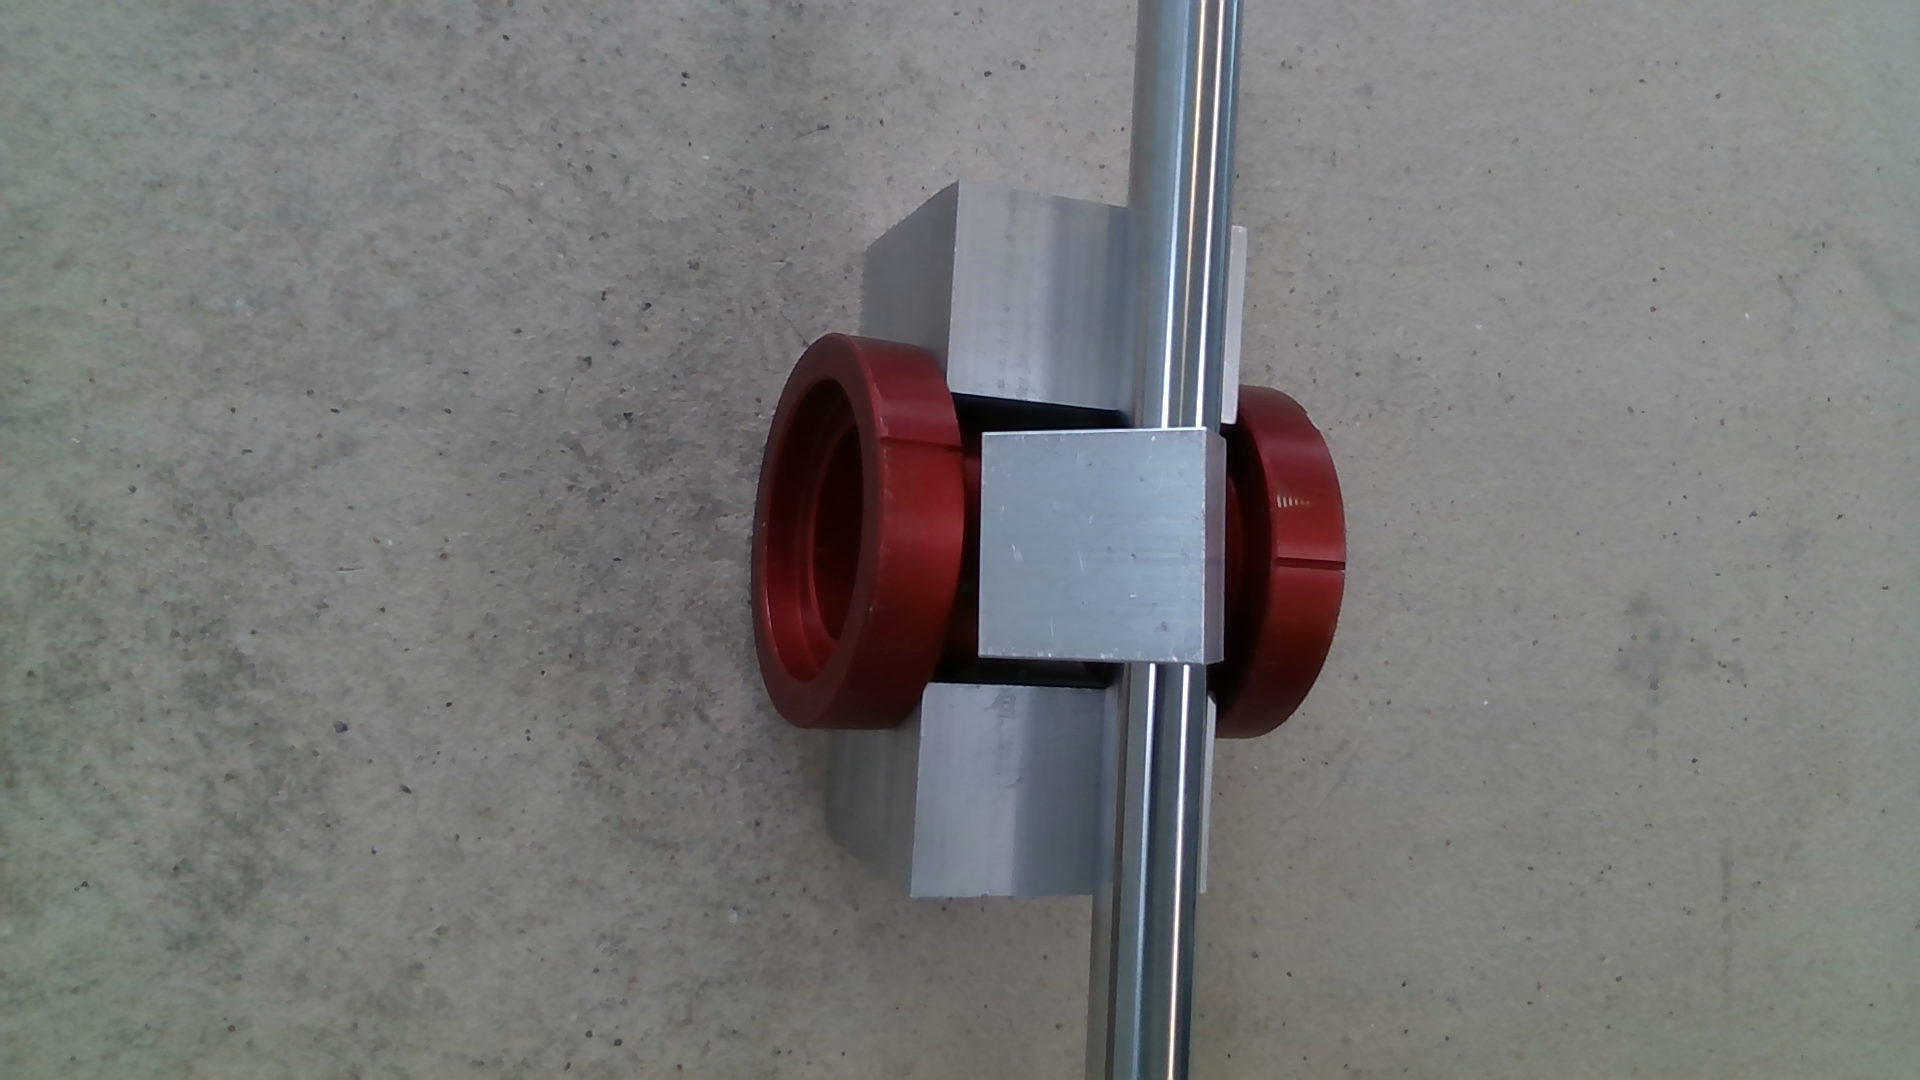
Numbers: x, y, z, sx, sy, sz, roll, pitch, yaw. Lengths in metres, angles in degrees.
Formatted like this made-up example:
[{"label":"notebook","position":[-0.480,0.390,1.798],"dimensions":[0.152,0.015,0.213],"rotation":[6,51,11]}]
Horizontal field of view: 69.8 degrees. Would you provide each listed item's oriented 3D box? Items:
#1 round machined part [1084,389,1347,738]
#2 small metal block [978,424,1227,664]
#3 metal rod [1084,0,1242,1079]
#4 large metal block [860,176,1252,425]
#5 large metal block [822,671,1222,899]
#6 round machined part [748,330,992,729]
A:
[{"label":"round machined part","position":[0.060,0.005,0.377],"dimensions":[0.042,0.098,0.098],"rotation":[4,89,-19]},{"label":"small metal block","position":[0.032,0.001,0.306],"dimensions":[0.050,0.025,0.050],"rotation":[0,88,20]},{"label":"metal rod","position":[0.048,0.005,0.327],"dimensions":[0.025,0.025,0.300],"rotation":[3,89,-20]},{"label":"large metal block","position":[0.021,-0.057,0.373],"dimensions":[0.080,0.080,0.050],"rotation":[5,88,-20]},{"label":"large metal block","position":[0.013,0.061,0.370],"dimensions":[0.080,0.080,0.050],"rotation":[4,89,-20]},{"label":"round machined part","position":[-0.019,-0.001,0.348],"dimensions":[0.042,0.098,0.098],"rotation":[5,88,-25]}]
